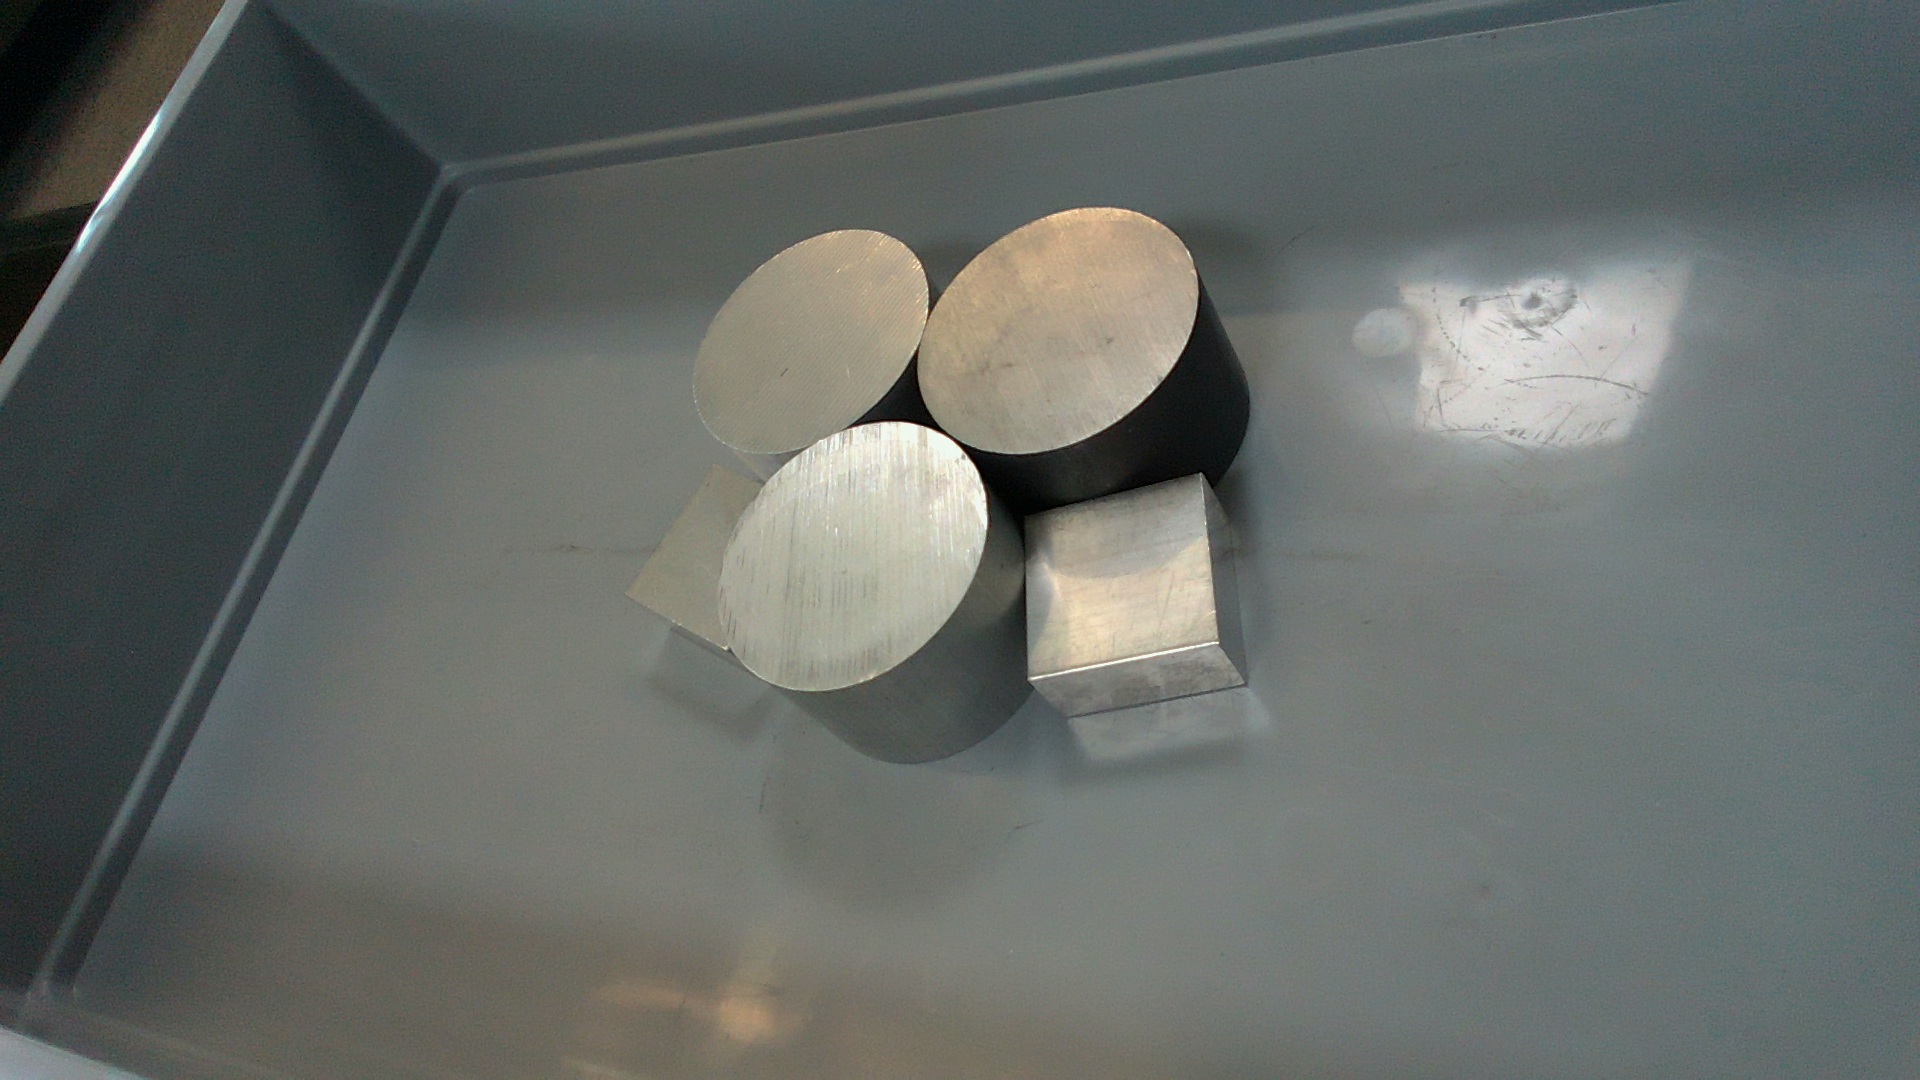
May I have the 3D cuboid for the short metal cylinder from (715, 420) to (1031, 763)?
[{"bbox_3d":[-0.019,0.014,0.378,0.080,0.050,0.080,-13,56,21],"label":"short metal cylinder"}]

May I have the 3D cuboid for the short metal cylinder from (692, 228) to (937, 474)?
[{"bbox_3d":[-0.035,-0.048,0.425,0.080,0.050,0.080,-13,56,21],"label":"short metal cylinder"}]

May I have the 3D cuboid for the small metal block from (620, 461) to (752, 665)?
[{"bbox_3d":[-0.068,0.009,0.423,0.050,0.025,0.050,23,74,36],"label":"small metal block"}]

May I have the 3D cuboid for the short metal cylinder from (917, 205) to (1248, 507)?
[{"bbox_3d":[0.035,-0.046,0.386,0.080,0.050,0.080,-13,56,21],"label":"short metal cylinder"}]

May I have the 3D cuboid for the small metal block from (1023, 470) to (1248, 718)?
[{"bbox_3d":[0.045,0.015,0.360,0.050,0.025,0.050,-13,56,21],"label":"small metal block"}]
